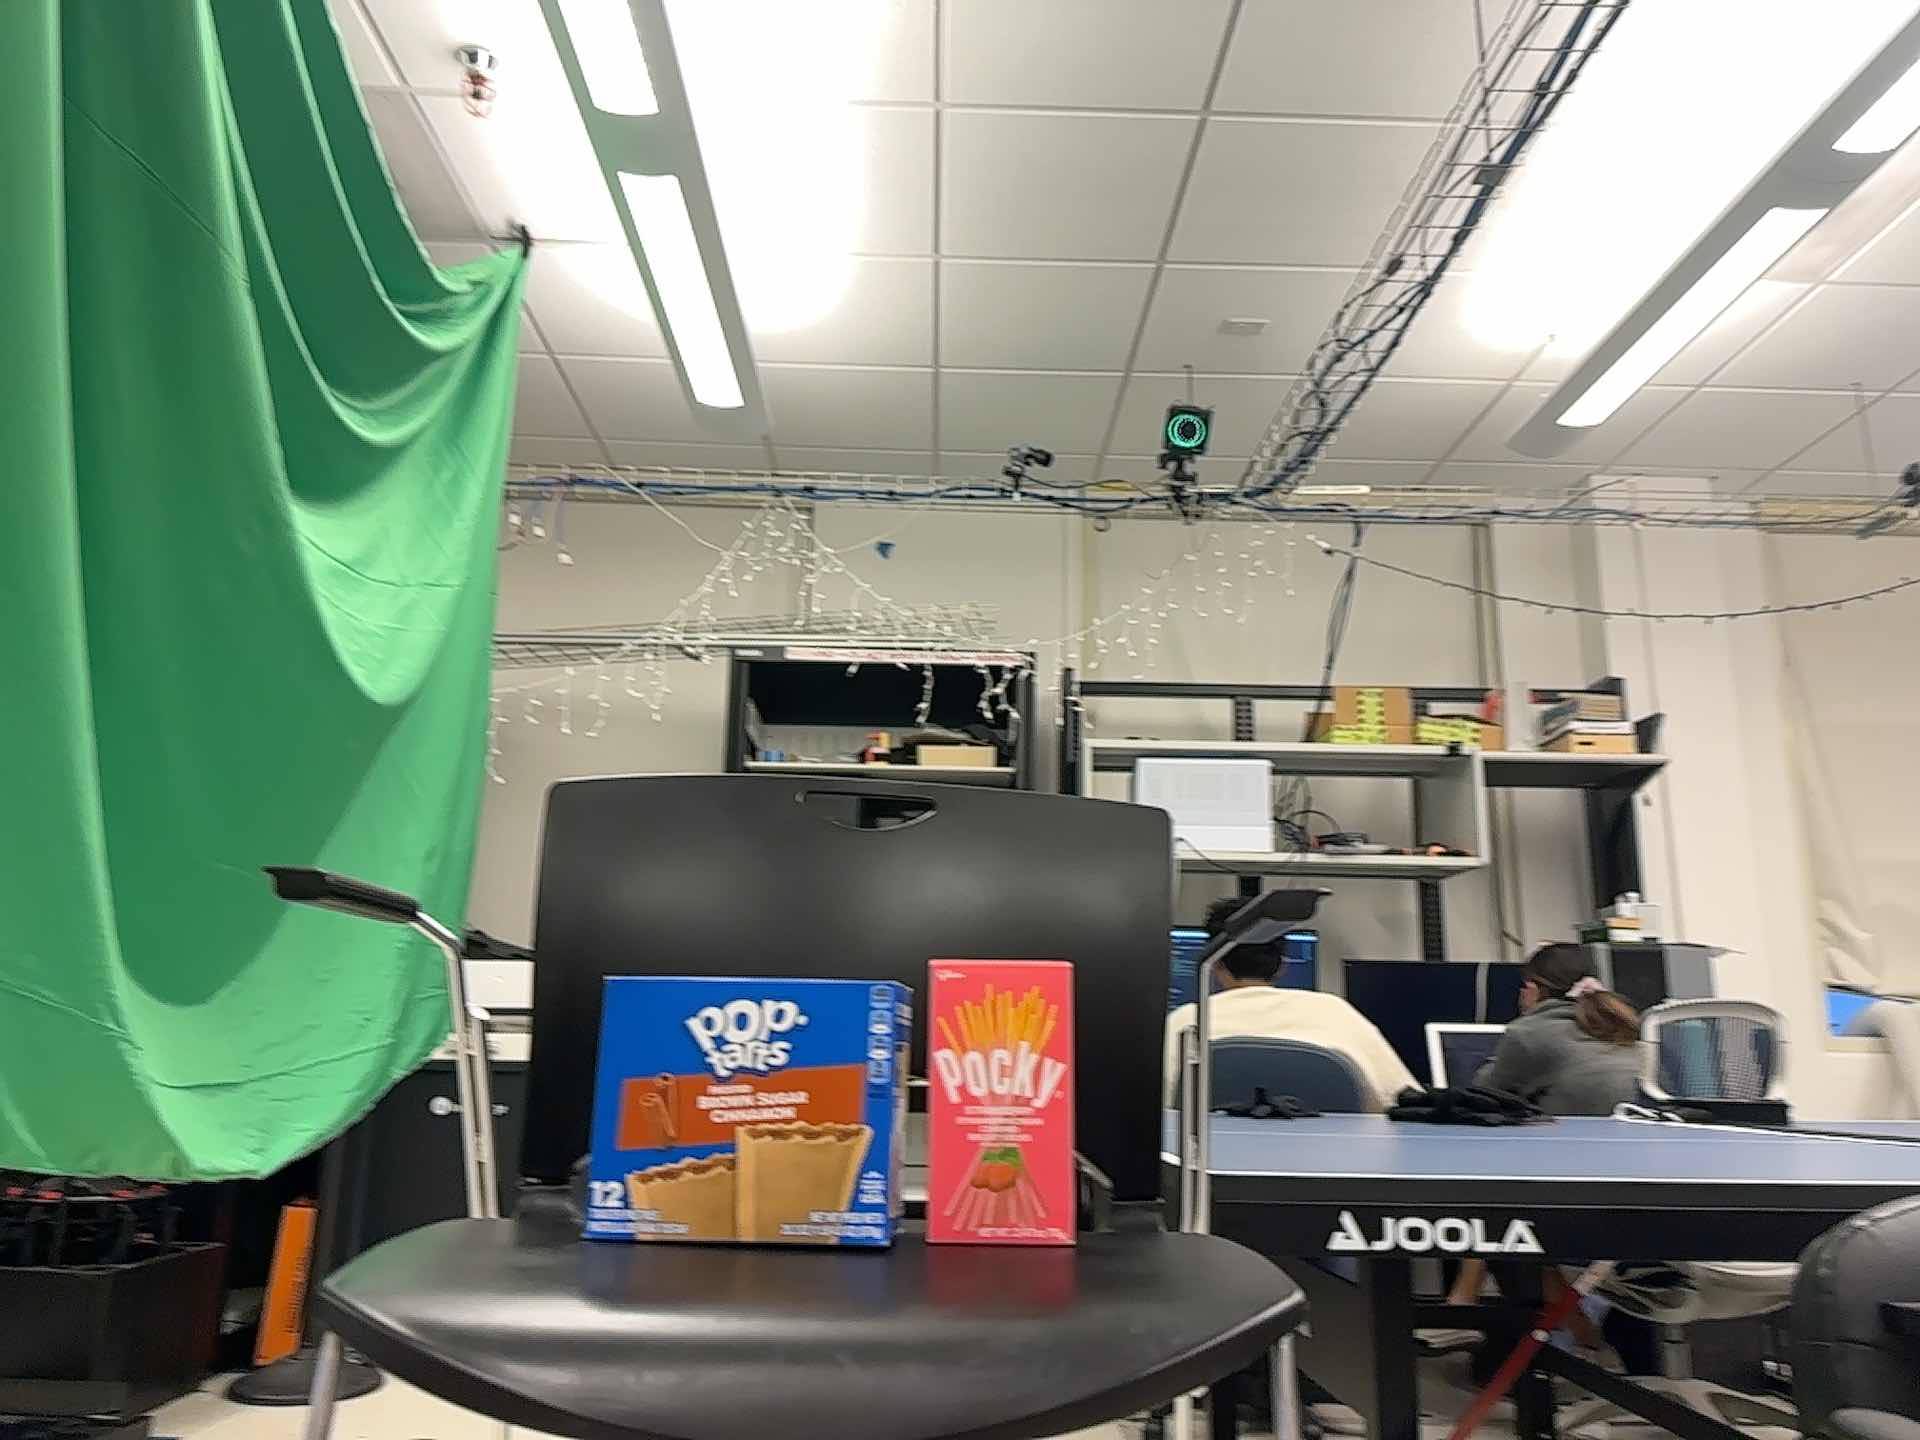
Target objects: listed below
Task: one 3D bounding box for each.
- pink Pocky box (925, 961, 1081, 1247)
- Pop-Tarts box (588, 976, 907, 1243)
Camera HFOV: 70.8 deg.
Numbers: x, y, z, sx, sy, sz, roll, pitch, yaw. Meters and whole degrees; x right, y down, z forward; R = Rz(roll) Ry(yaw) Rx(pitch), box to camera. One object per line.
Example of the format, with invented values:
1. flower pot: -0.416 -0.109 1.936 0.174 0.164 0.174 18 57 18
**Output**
1. pink Pocky box: 0.025 0.215 0.762 0.084 0.155 0.029 2 -8 -5
2. Pop-Tarts box: -0.118 0.223 0.782 0.161 0.135 0.075 2 -14 -1
